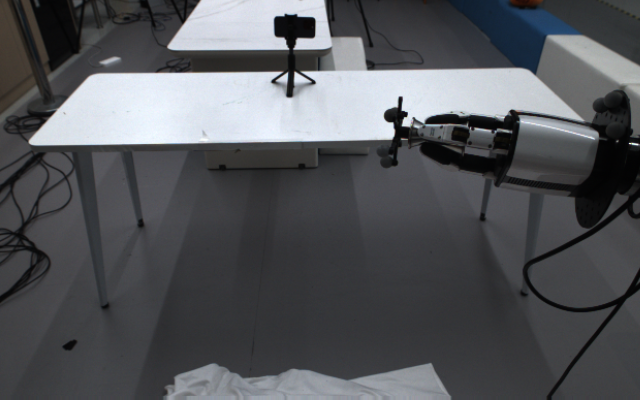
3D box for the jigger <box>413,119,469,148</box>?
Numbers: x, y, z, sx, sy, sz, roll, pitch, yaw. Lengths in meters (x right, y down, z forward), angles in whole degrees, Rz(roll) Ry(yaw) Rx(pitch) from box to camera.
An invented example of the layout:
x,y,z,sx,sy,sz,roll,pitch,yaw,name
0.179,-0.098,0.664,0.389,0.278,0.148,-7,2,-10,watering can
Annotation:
x,y,z,sx,sy,sz,roll,pitch,yaw,name
0.153,-0.084,0.603,0.071,0.043,0.043,8,35,16,jigger
